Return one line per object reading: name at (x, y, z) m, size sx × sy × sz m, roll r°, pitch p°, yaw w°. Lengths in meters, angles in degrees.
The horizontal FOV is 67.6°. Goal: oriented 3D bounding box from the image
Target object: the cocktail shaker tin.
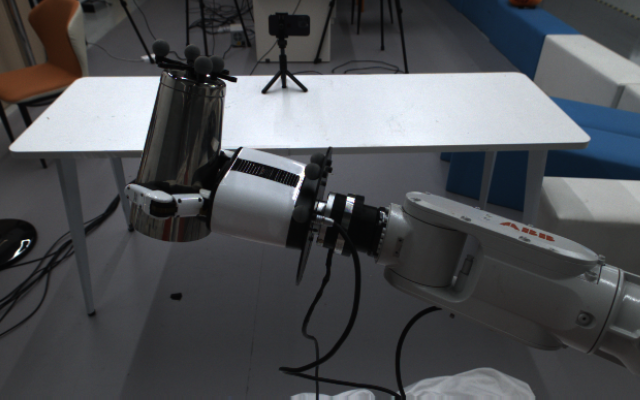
cocktail shaker tin at (-0.150, -0.048, 0.530) m, size 0.093 × 0.170 × 0.093 m, roll 14°, pitch 20°, yaw -5°
